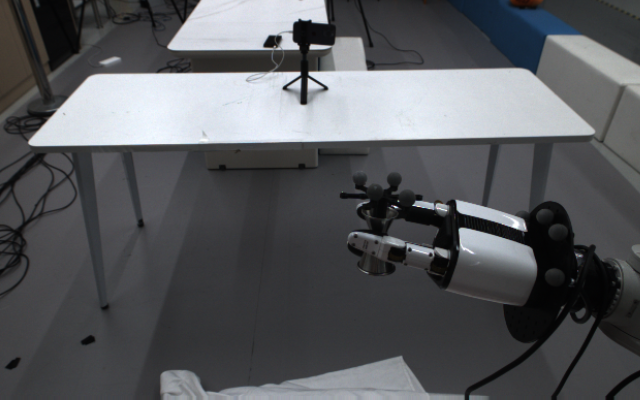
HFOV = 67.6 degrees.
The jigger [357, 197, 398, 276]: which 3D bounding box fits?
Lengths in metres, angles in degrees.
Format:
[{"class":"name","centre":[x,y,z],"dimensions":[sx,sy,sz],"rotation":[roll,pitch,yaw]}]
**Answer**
[{"class":"jigger","centre":[0.065,0.043,0.546],"dimensions":[0.043,0.071,0.043],"rotation":[1,20,0]}]
